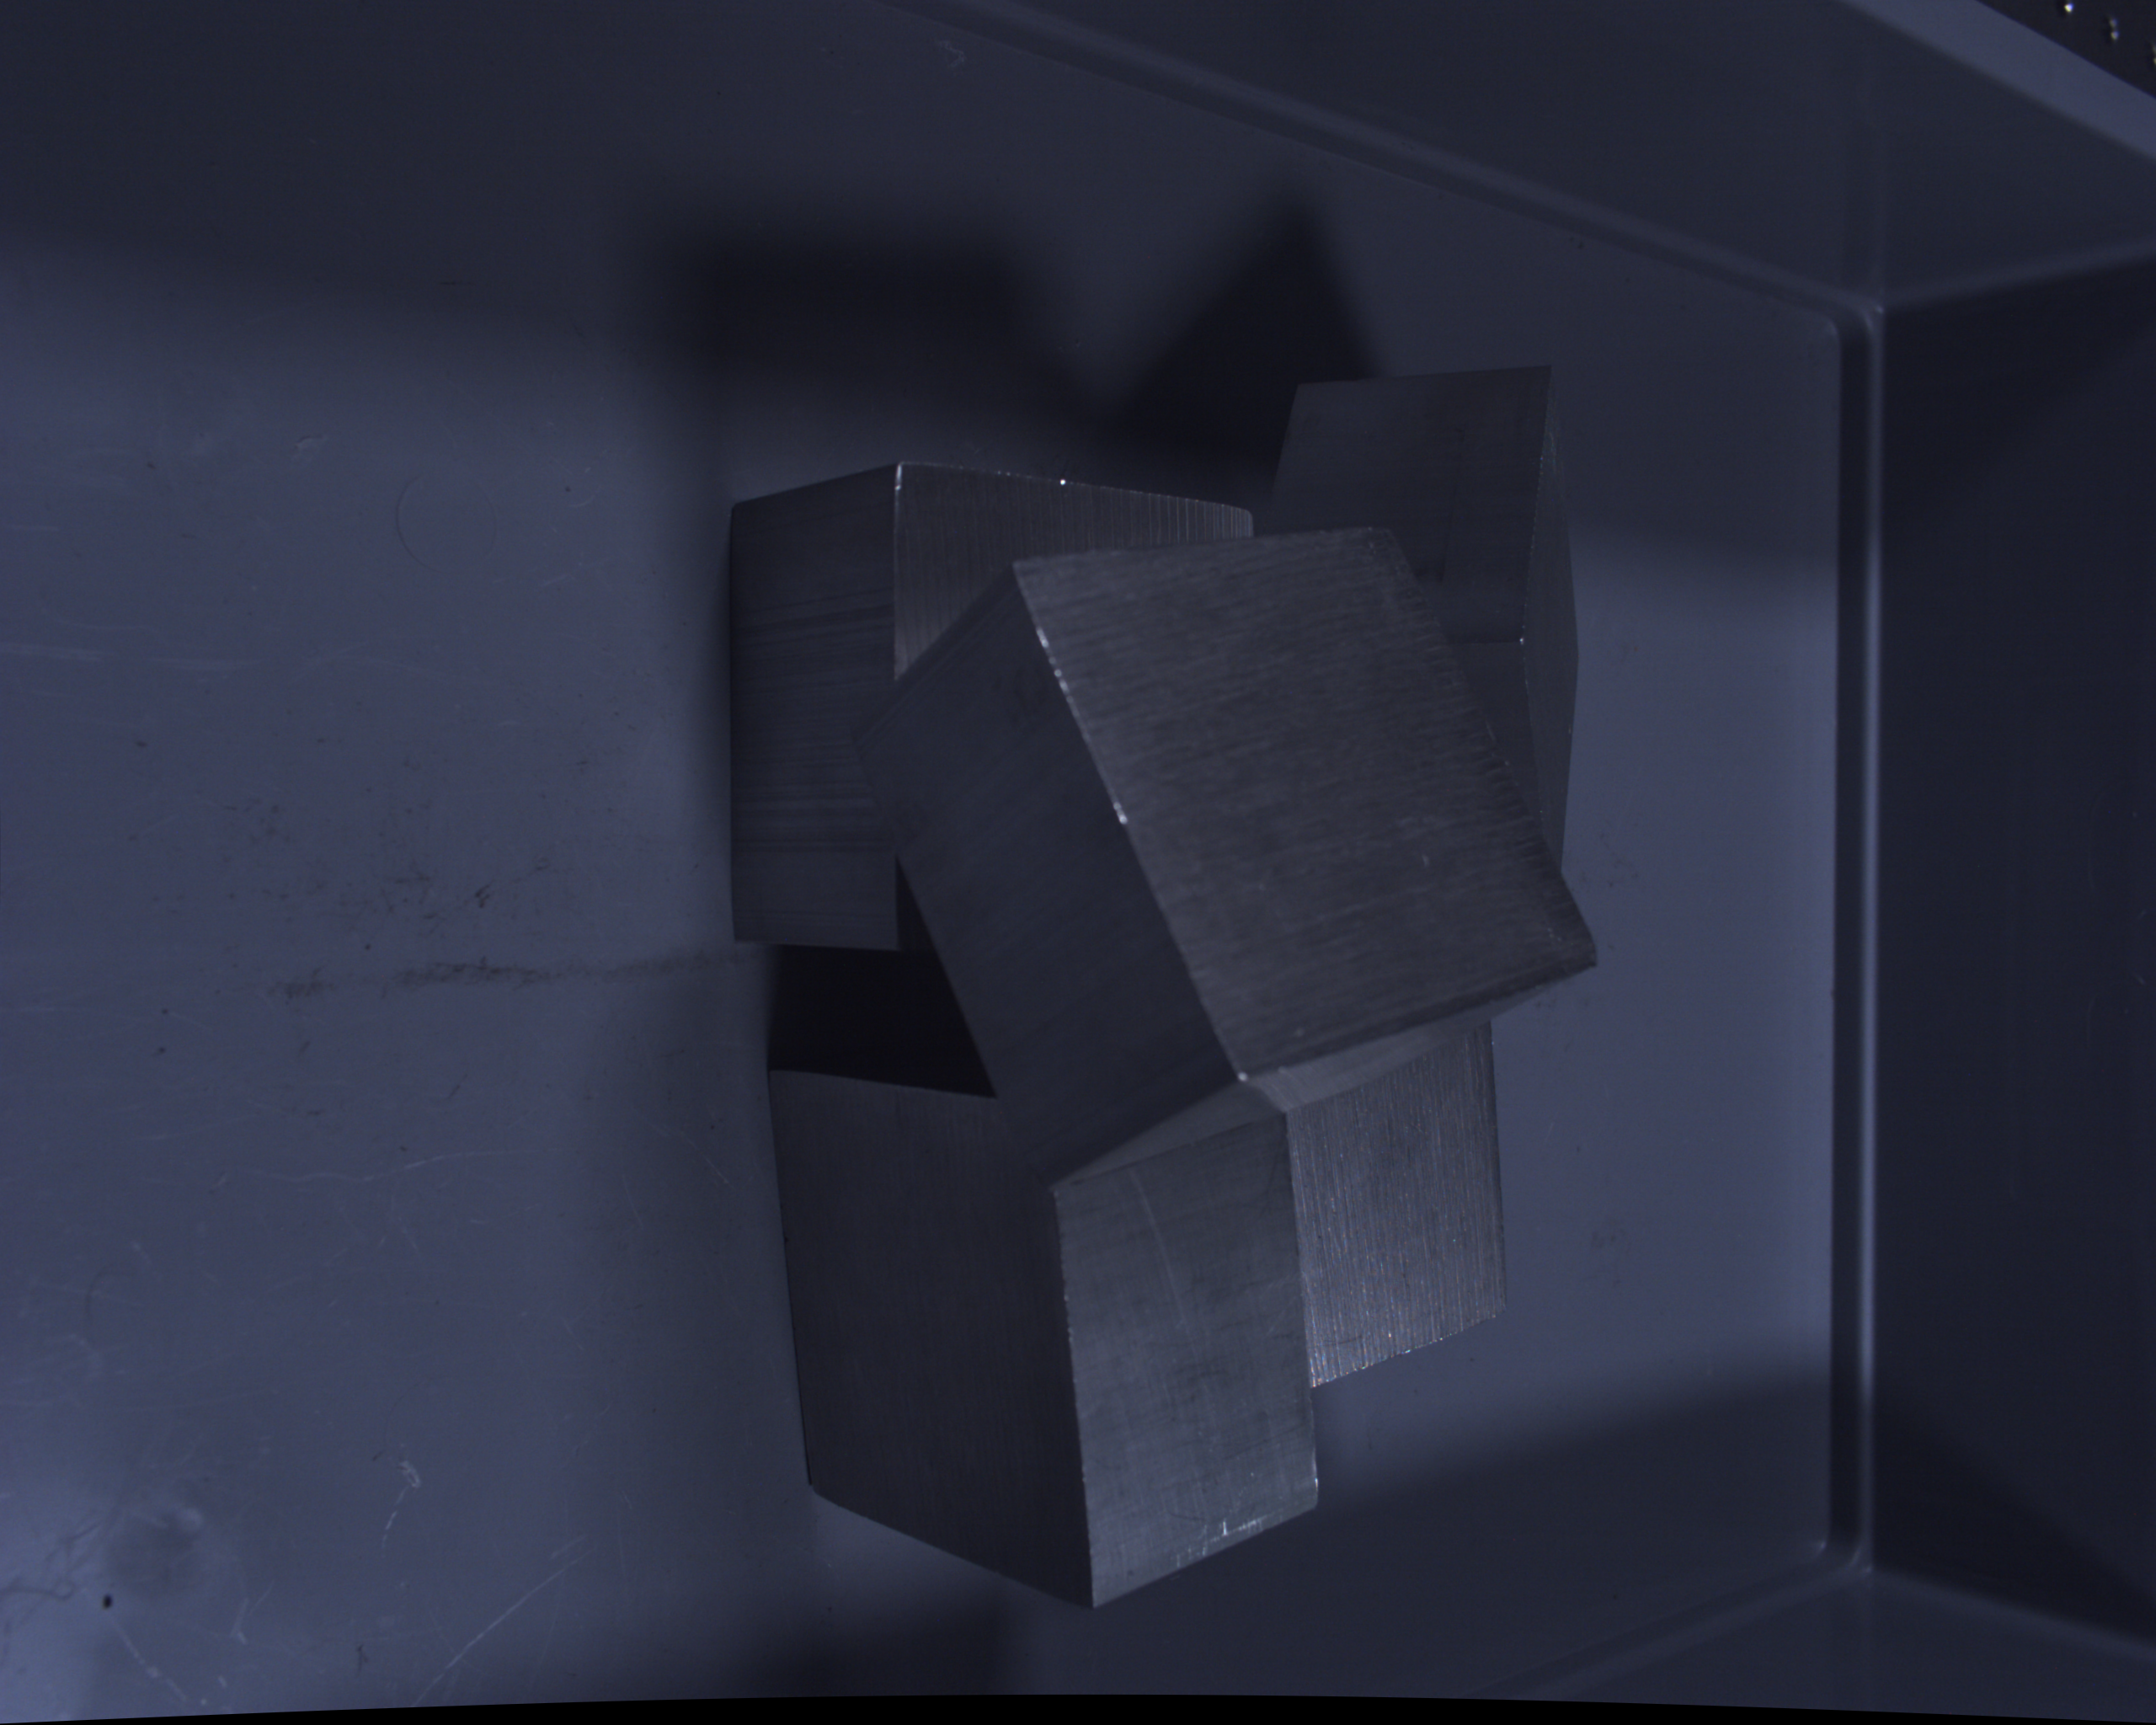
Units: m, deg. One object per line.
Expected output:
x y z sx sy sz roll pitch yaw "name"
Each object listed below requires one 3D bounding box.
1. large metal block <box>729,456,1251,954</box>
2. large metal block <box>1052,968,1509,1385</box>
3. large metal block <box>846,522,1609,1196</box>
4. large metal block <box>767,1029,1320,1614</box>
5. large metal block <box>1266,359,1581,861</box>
-0.015 -0.026 0.378 0.081 0.050 0.079 -1 91 -40 "large metal block"
0.039 0.057 0.421 0.081 0.050 0.079 -7 95 -40 "large metal block"
0.023 -0.003 0.325 0.081 0.050 0.080 -12 73 -39 "large metal block"
-0.008 0.073 0.364 0.050 0.080 0.079 -9 96 -40 "large metal block"
0.070 -0.042 0.416 0.080 0.050 0.080 70 27 -46 "large metal block"
